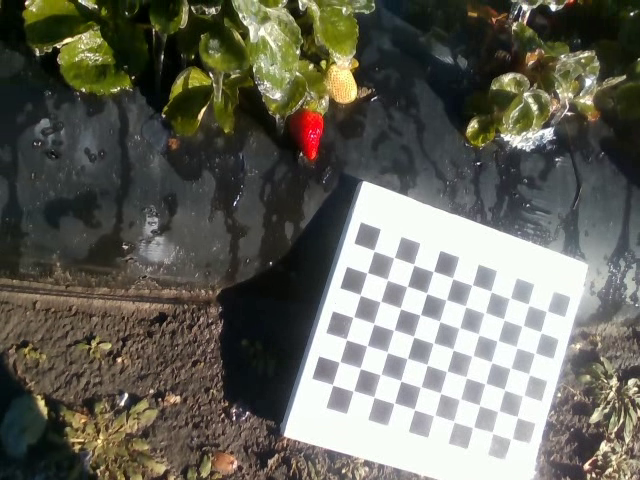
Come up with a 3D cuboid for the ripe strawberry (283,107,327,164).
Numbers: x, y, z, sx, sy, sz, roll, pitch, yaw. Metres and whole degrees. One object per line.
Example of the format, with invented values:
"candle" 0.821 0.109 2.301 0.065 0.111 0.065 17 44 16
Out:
"ripe strawberry" -0.007 -0.106 0.710 0.041 0.052 0.040 1 -8 -17
